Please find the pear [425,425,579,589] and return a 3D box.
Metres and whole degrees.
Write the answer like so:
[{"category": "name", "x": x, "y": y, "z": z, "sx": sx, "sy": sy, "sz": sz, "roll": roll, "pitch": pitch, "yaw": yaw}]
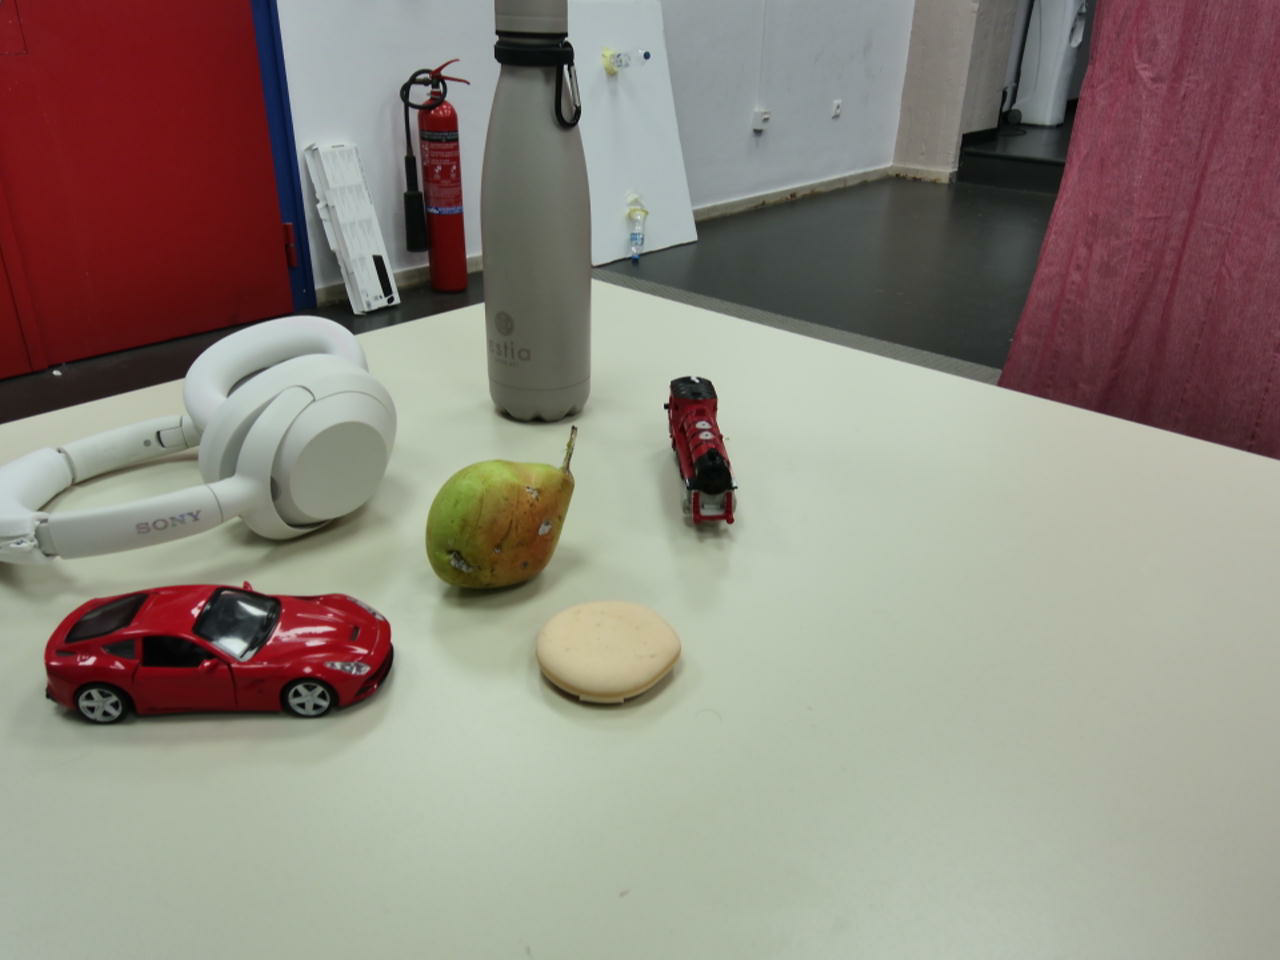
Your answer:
[{"category": "pear", "x": -0.068, "y": 0.017, "z": 0.489, "sx": 0.070, "sy": 0.069, "sz": 0.068, "roll": 1, "pitch": 25, "yaw": 2}]
